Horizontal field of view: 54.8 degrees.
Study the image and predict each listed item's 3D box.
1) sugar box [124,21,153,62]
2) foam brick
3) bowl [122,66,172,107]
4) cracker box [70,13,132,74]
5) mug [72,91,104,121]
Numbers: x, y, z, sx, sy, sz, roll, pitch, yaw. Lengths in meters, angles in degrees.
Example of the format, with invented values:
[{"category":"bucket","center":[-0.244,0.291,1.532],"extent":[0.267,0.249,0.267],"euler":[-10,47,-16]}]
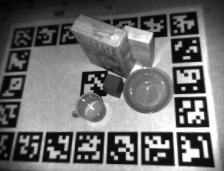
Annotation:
[{"category":"sugar box","center":[0.082,-0.145,0.717],"extent":[0.092,0.178,0.045],"euler":[18,76,19]},{"category":"foam brick","center":[-0.003,-0.015,0.748],"extent":[0.052,0.079,0.051],"euler":[13,73,17]},{"category":"bowl","center":[0.115,0.008,0.712],"extent":[0.161,0.055,0.161],"euler":[-3,71,11]},{"category":"cracker box","center":[-0.030,-0.134,0.718],"extent":[0.163,0.215,0.072],"euler":[27,76,19]},{"category":"mug","center":[-0.088,0.073,0.724],"extent":[0.116,0.082,0.093],"euler":[-11,61,10]}]
